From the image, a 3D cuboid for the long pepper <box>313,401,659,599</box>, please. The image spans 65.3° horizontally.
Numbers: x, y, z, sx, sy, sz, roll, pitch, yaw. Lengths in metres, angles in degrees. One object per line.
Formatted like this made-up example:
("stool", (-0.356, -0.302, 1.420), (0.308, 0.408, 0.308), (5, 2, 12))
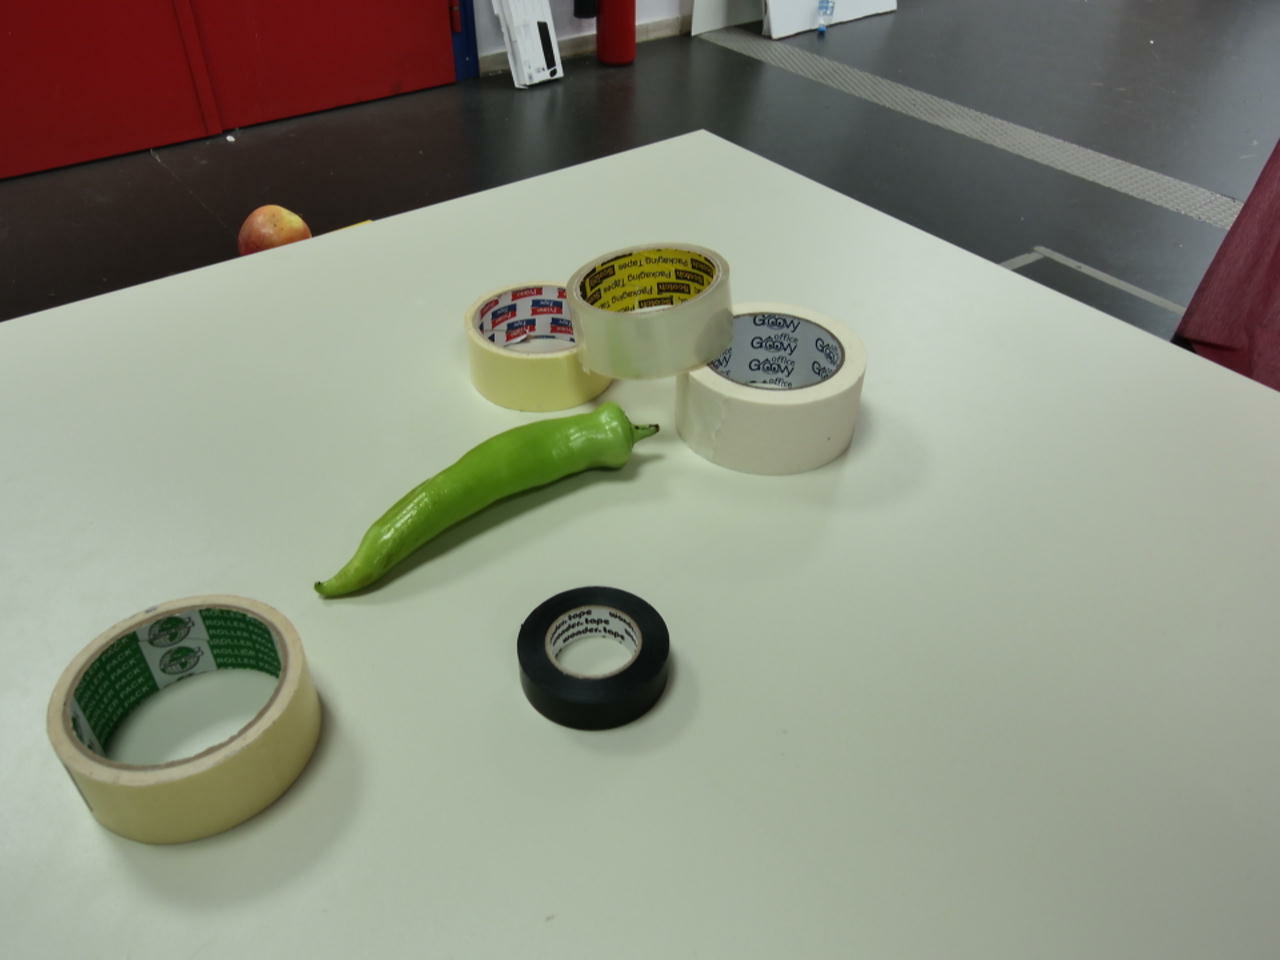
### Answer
("long pepper", (-0.078, 0.001, 0.510), (0.197, 0.038, 0.047), (-24, 44, -28))
